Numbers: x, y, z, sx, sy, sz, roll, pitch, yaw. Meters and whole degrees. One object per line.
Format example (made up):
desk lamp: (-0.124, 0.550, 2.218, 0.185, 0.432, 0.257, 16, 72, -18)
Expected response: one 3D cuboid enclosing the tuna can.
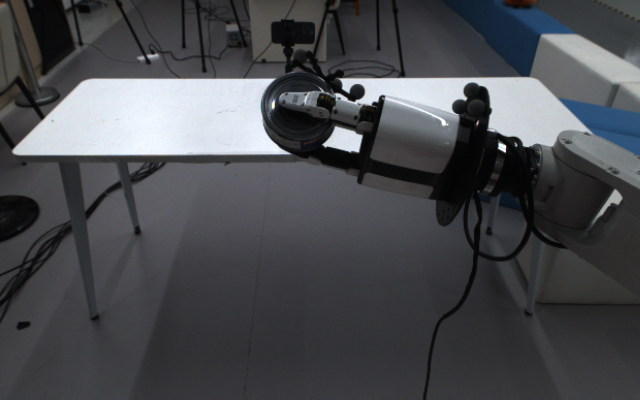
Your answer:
tuna can: (-0.021, -0.101, 0.548, 0.085, 0.034, 0.085, 0, 74, 0)
